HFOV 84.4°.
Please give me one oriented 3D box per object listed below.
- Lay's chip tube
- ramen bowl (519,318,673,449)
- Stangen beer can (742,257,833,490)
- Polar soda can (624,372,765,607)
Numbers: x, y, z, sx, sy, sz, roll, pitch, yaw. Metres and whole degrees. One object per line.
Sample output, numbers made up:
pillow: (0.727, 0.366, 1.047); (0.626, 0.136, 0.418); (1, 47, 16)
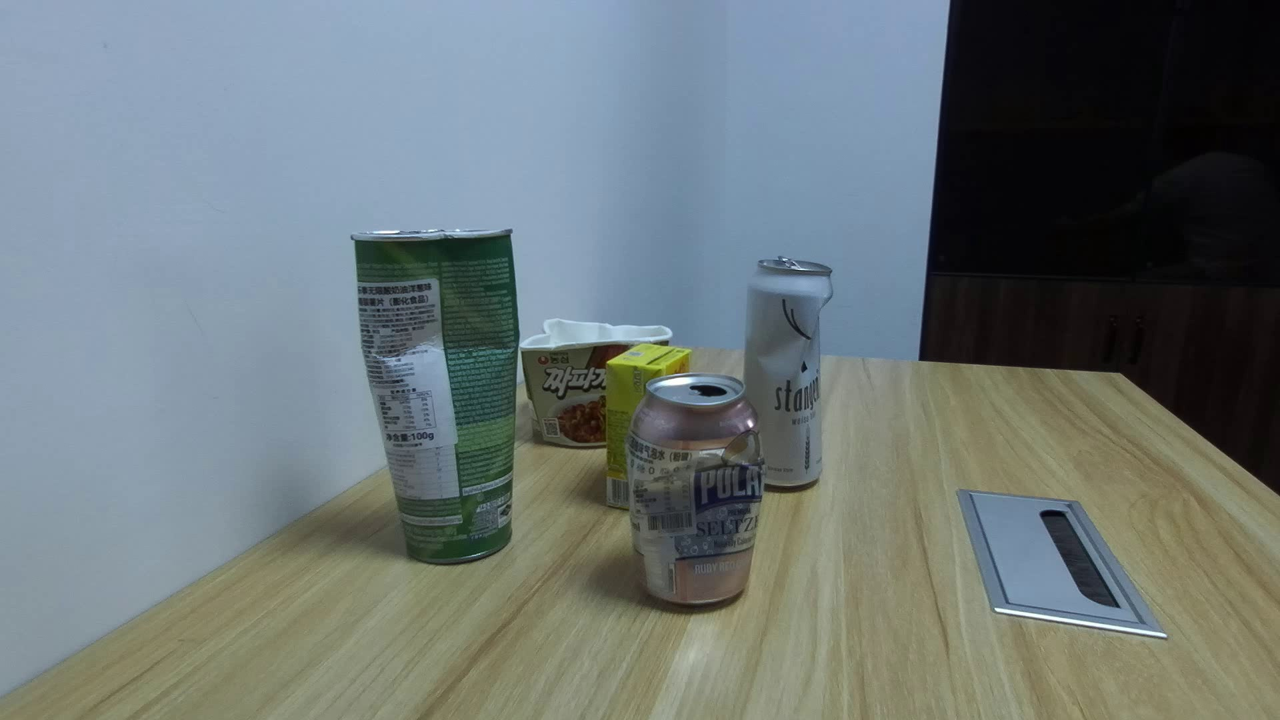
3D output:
Lay's chip tube: (-0.118, 0.022, 0.437); (0.068, 0.199, 0.075); (6, 16, 20)
ramen bowl: (-0.036, 0.017, 0.655); (0.134, 0.097, 0.113); (-1, 15, 1)
Stangen beer can: (0.113, 0.010, 0.534); (0.070, 0.173, 0.069); (-6, 16, -23)
Polar soda can: (0.032, 0.072, 0.393); (0.074, 0.122, 0.067); (5, 17, 22)
